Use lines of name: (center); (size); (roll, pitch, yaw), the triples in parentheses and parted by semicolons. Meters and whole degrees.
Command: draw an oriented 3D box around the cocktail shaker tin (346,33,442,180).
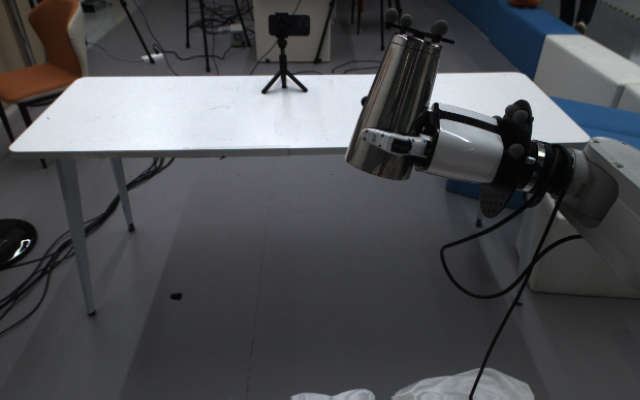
cocktail shaker tin: (0.100, -0.122, 0.631); (0.093, 0.170, 0.093); (14, 20, -5)
